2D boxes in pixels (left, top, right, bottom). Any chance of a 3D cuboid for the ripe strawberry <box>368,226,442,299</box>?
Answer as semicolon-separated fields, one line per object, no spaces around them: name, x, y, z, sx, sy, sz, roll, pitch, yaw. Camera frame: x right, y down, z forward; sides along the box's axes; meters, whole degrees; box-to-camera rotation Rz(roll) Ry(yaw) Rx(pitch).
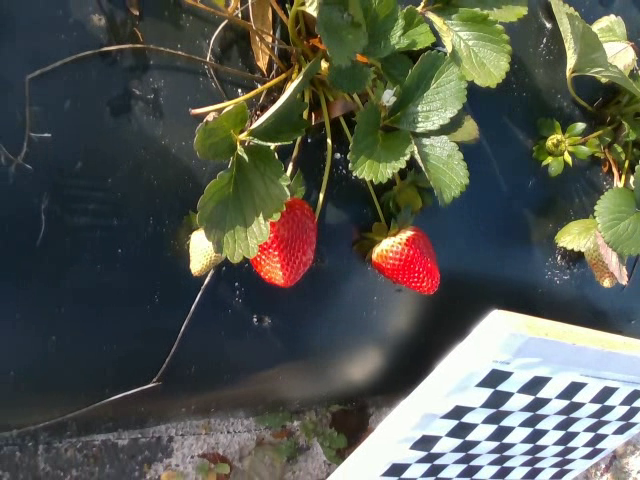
ripe strawberry;0.045;0.012;0.275;0.037;0.039;0.033;-37;-27;32

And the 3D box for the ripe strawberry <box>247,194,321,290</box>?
ripe strawberry;-0.015;0.002;0.240;0.035;0.036;0.041;4;-24;-16
